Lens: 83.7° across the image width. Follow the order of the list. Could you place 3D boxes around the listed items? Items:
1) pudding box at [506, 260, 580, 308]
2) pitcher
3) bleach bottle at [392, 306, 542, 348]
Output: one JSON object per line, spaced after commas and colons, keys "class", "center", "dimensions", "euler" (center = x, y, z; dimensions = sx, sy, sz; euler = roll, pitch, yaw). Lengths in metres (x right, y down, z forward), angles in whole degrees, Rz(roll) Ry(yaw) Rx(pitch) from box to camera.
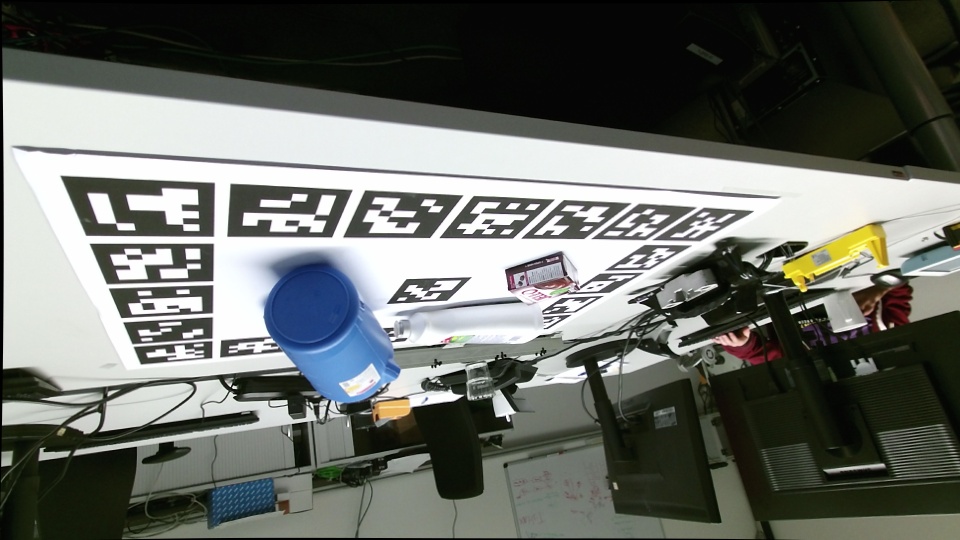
{"class": "pudding box", "center": [0.099, 0.025, 0.825], "dimensions": [0.090, 0.038, 0.114], "euler": [-13, 157, 16]}
{"class": "pitcher", "center": [-0.210, 0.081, 0.724], "dimensions": [0.189, 0.133, 0.243], "euler": [19, 155, 10]}
{"class": "bleach bottle", "center": [-0.024, 0.107, 0.936], "dimensions": [0.252, 0.067, 0.103], "euler": [-1, 151, -23]}
